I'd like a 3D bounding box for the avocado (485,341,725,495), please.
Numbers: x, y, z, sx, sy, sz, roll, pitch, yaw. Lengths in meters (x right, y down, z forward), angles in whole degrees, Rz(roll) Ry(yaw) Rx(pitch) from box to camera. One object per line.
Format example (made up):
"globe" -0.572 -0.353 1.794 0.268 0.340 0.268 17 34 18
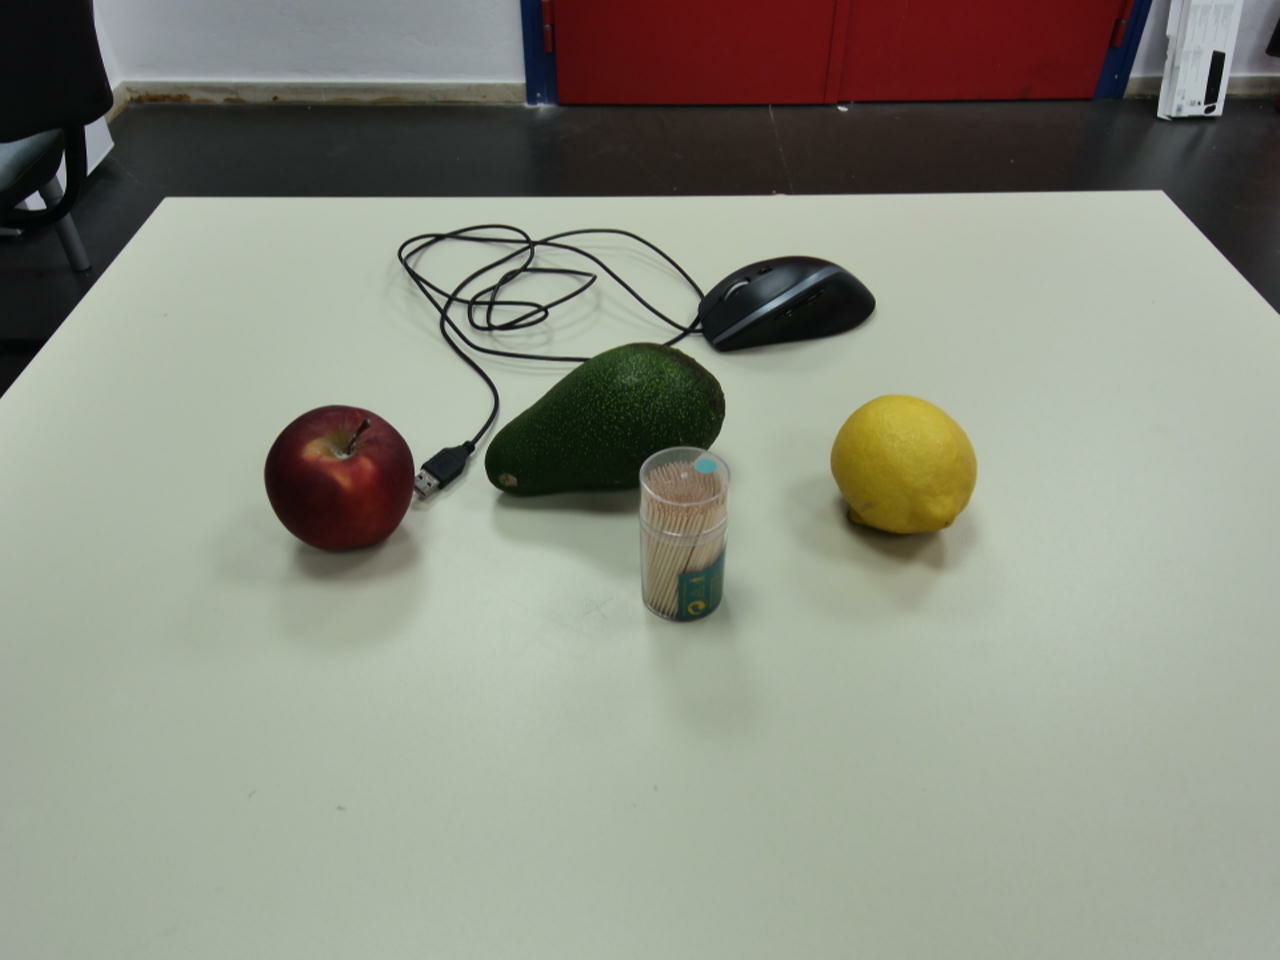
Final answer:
"avocado" -0.017 -0.034 0.520 0.123 0.076 0.074 5 39 5
